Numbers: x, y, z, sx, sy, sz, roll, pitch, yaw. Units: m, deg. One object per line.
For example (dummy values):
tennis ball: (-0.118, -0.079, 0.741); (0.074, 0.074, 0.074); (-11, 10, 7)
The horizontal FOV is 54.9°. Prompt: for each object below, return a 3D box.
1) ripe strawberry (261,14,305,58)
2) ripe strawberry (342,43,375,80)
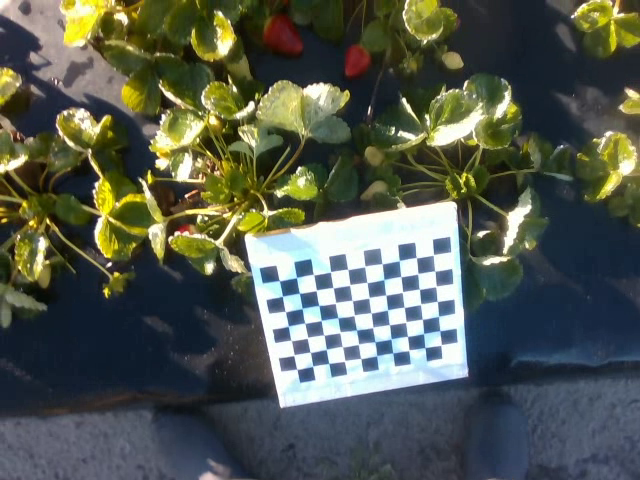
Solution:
ripe strawberry: (-0.044, -0.250, 0.760); (0.056, 0.044, 0.040); (39, 8, -15)
ripe strawberry: (0.046, -0.220, 0.764); (0.039, 0.047, 0.040); (28, 0, -14)
